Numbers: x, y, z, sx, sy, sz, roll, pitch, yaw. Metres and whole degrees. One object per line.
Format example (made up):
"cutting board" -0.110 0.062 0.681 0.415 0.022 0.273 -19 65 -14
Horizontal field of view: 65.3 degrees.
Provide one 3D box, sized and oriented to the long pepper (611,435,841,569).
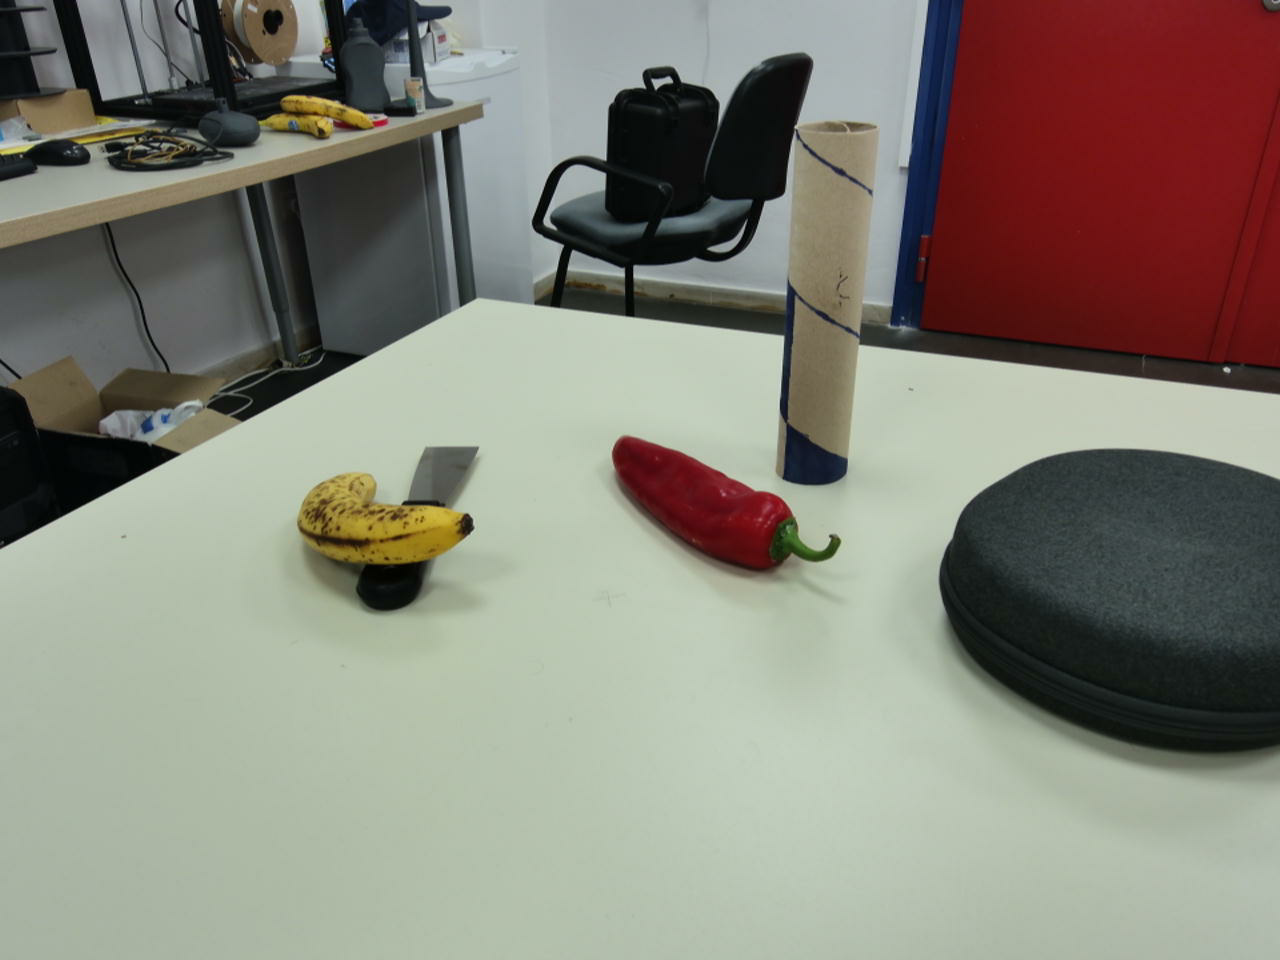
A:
"long pepper" 0.039 0.011 0.610 0.050 0.043 0.211 -17 30 -30
